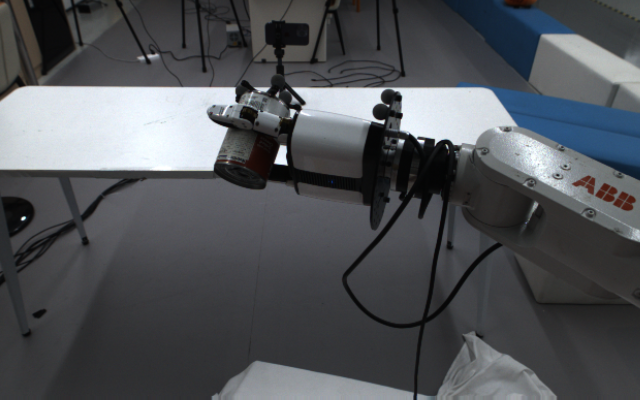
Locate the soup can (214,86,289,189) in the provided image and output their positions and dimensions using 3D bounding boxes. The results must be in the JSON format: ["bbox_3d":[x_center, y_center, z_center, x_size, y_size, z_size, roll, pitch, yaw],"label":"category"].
[{"bbox_3d":[-0.082,-0.074,0.590,0.067,0.067,0.101,12,70,14],"label":"soup can"}]
